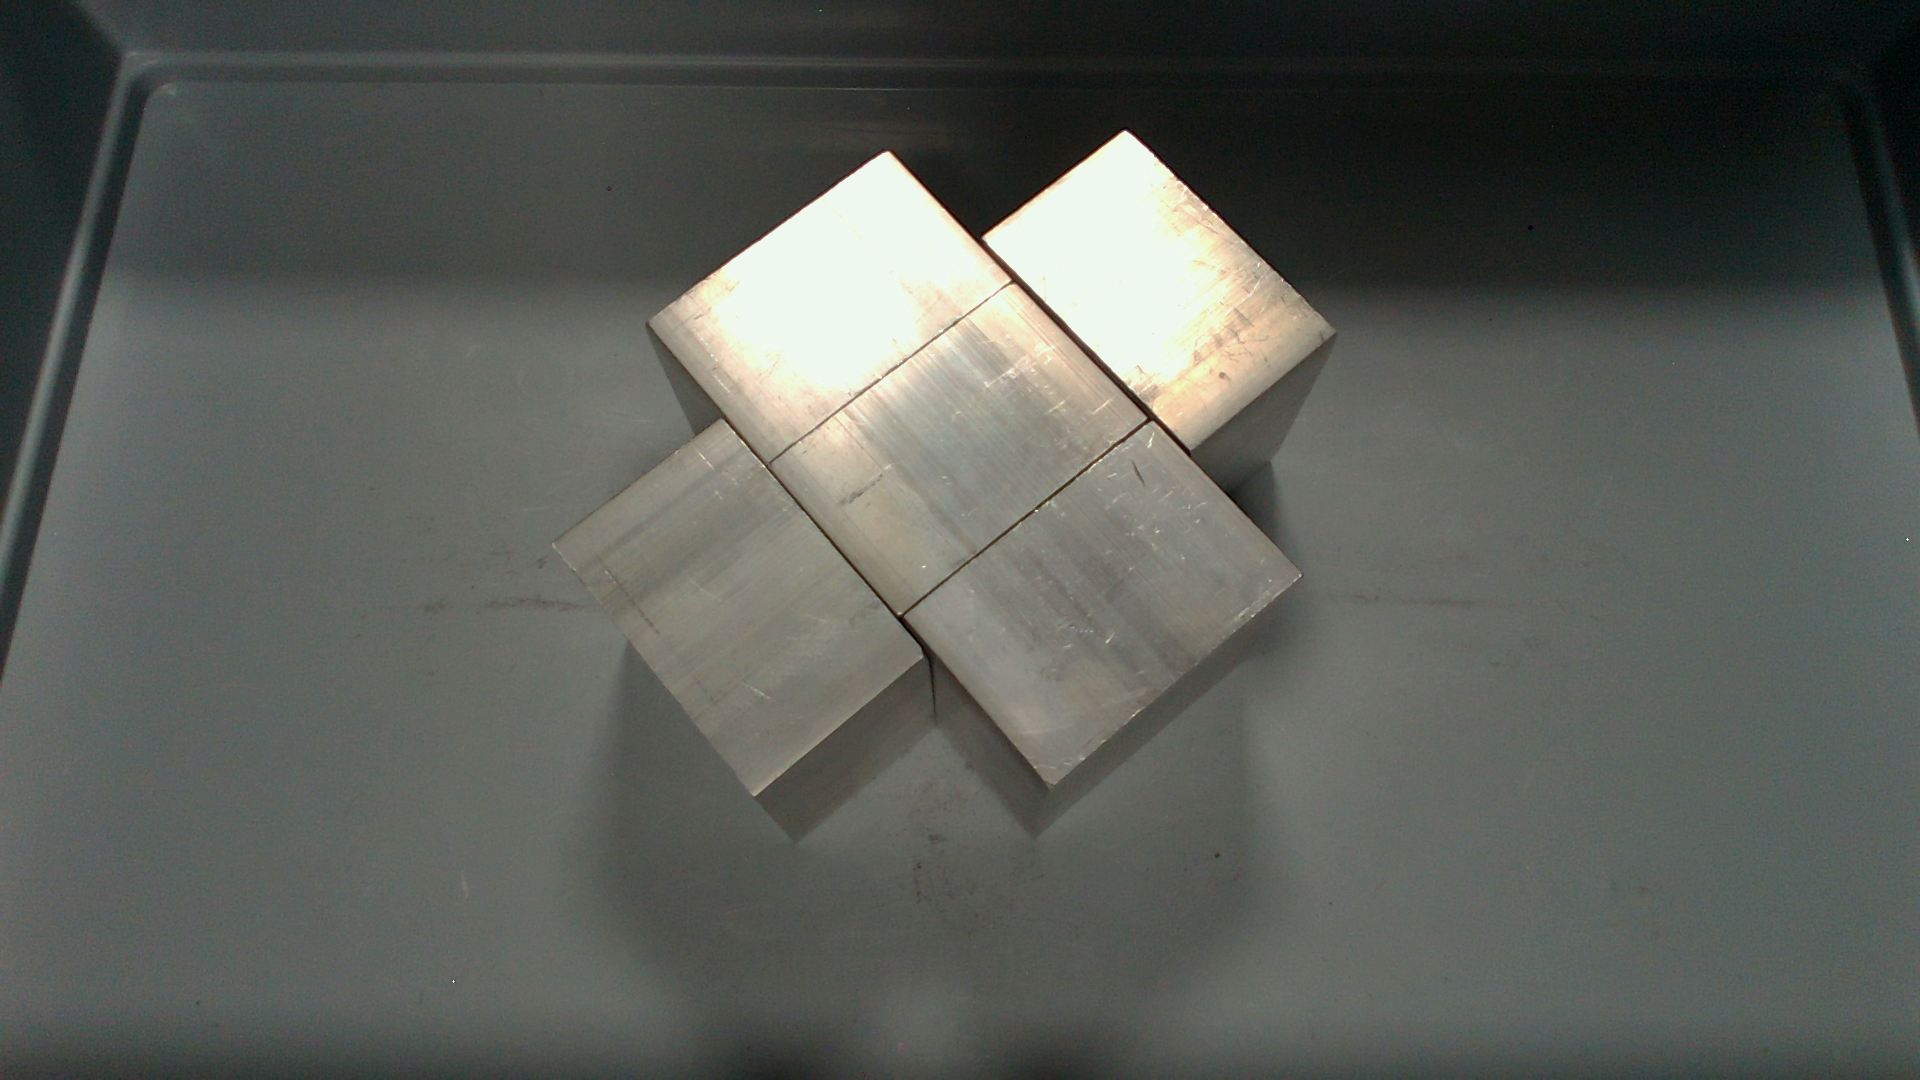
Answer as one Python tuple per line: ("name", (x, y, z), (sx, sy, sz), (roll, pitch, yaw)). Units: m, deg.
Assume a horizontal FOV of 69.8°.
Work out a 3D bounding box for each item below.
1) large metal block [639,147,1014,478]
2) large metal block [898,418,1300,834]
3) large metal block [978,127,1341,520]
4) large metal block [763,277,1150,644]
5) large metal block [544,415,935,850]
("large metal block", (-0.033, -0.047, 0.381), (0.080, 0.080, 0.050), (-38, 74, -13))
("large metal block", (0.033, 0.026, 0.356), (0.080, 0.080, 0.050), (-38, 74, -13))
("large metal block", (0.050, -0.051, 0.384), (0.050, 0.080, 0.080), (-39, 74, -13))
("large metal block", (0.000, -0.010, 0.369), (0.080, 0.080, 0.050), (-38, 74, -13))
("large metal block", (-0.052, 0.027, 0.355), (0.050, 0.080, 0.080), (-39, 74, -13))
